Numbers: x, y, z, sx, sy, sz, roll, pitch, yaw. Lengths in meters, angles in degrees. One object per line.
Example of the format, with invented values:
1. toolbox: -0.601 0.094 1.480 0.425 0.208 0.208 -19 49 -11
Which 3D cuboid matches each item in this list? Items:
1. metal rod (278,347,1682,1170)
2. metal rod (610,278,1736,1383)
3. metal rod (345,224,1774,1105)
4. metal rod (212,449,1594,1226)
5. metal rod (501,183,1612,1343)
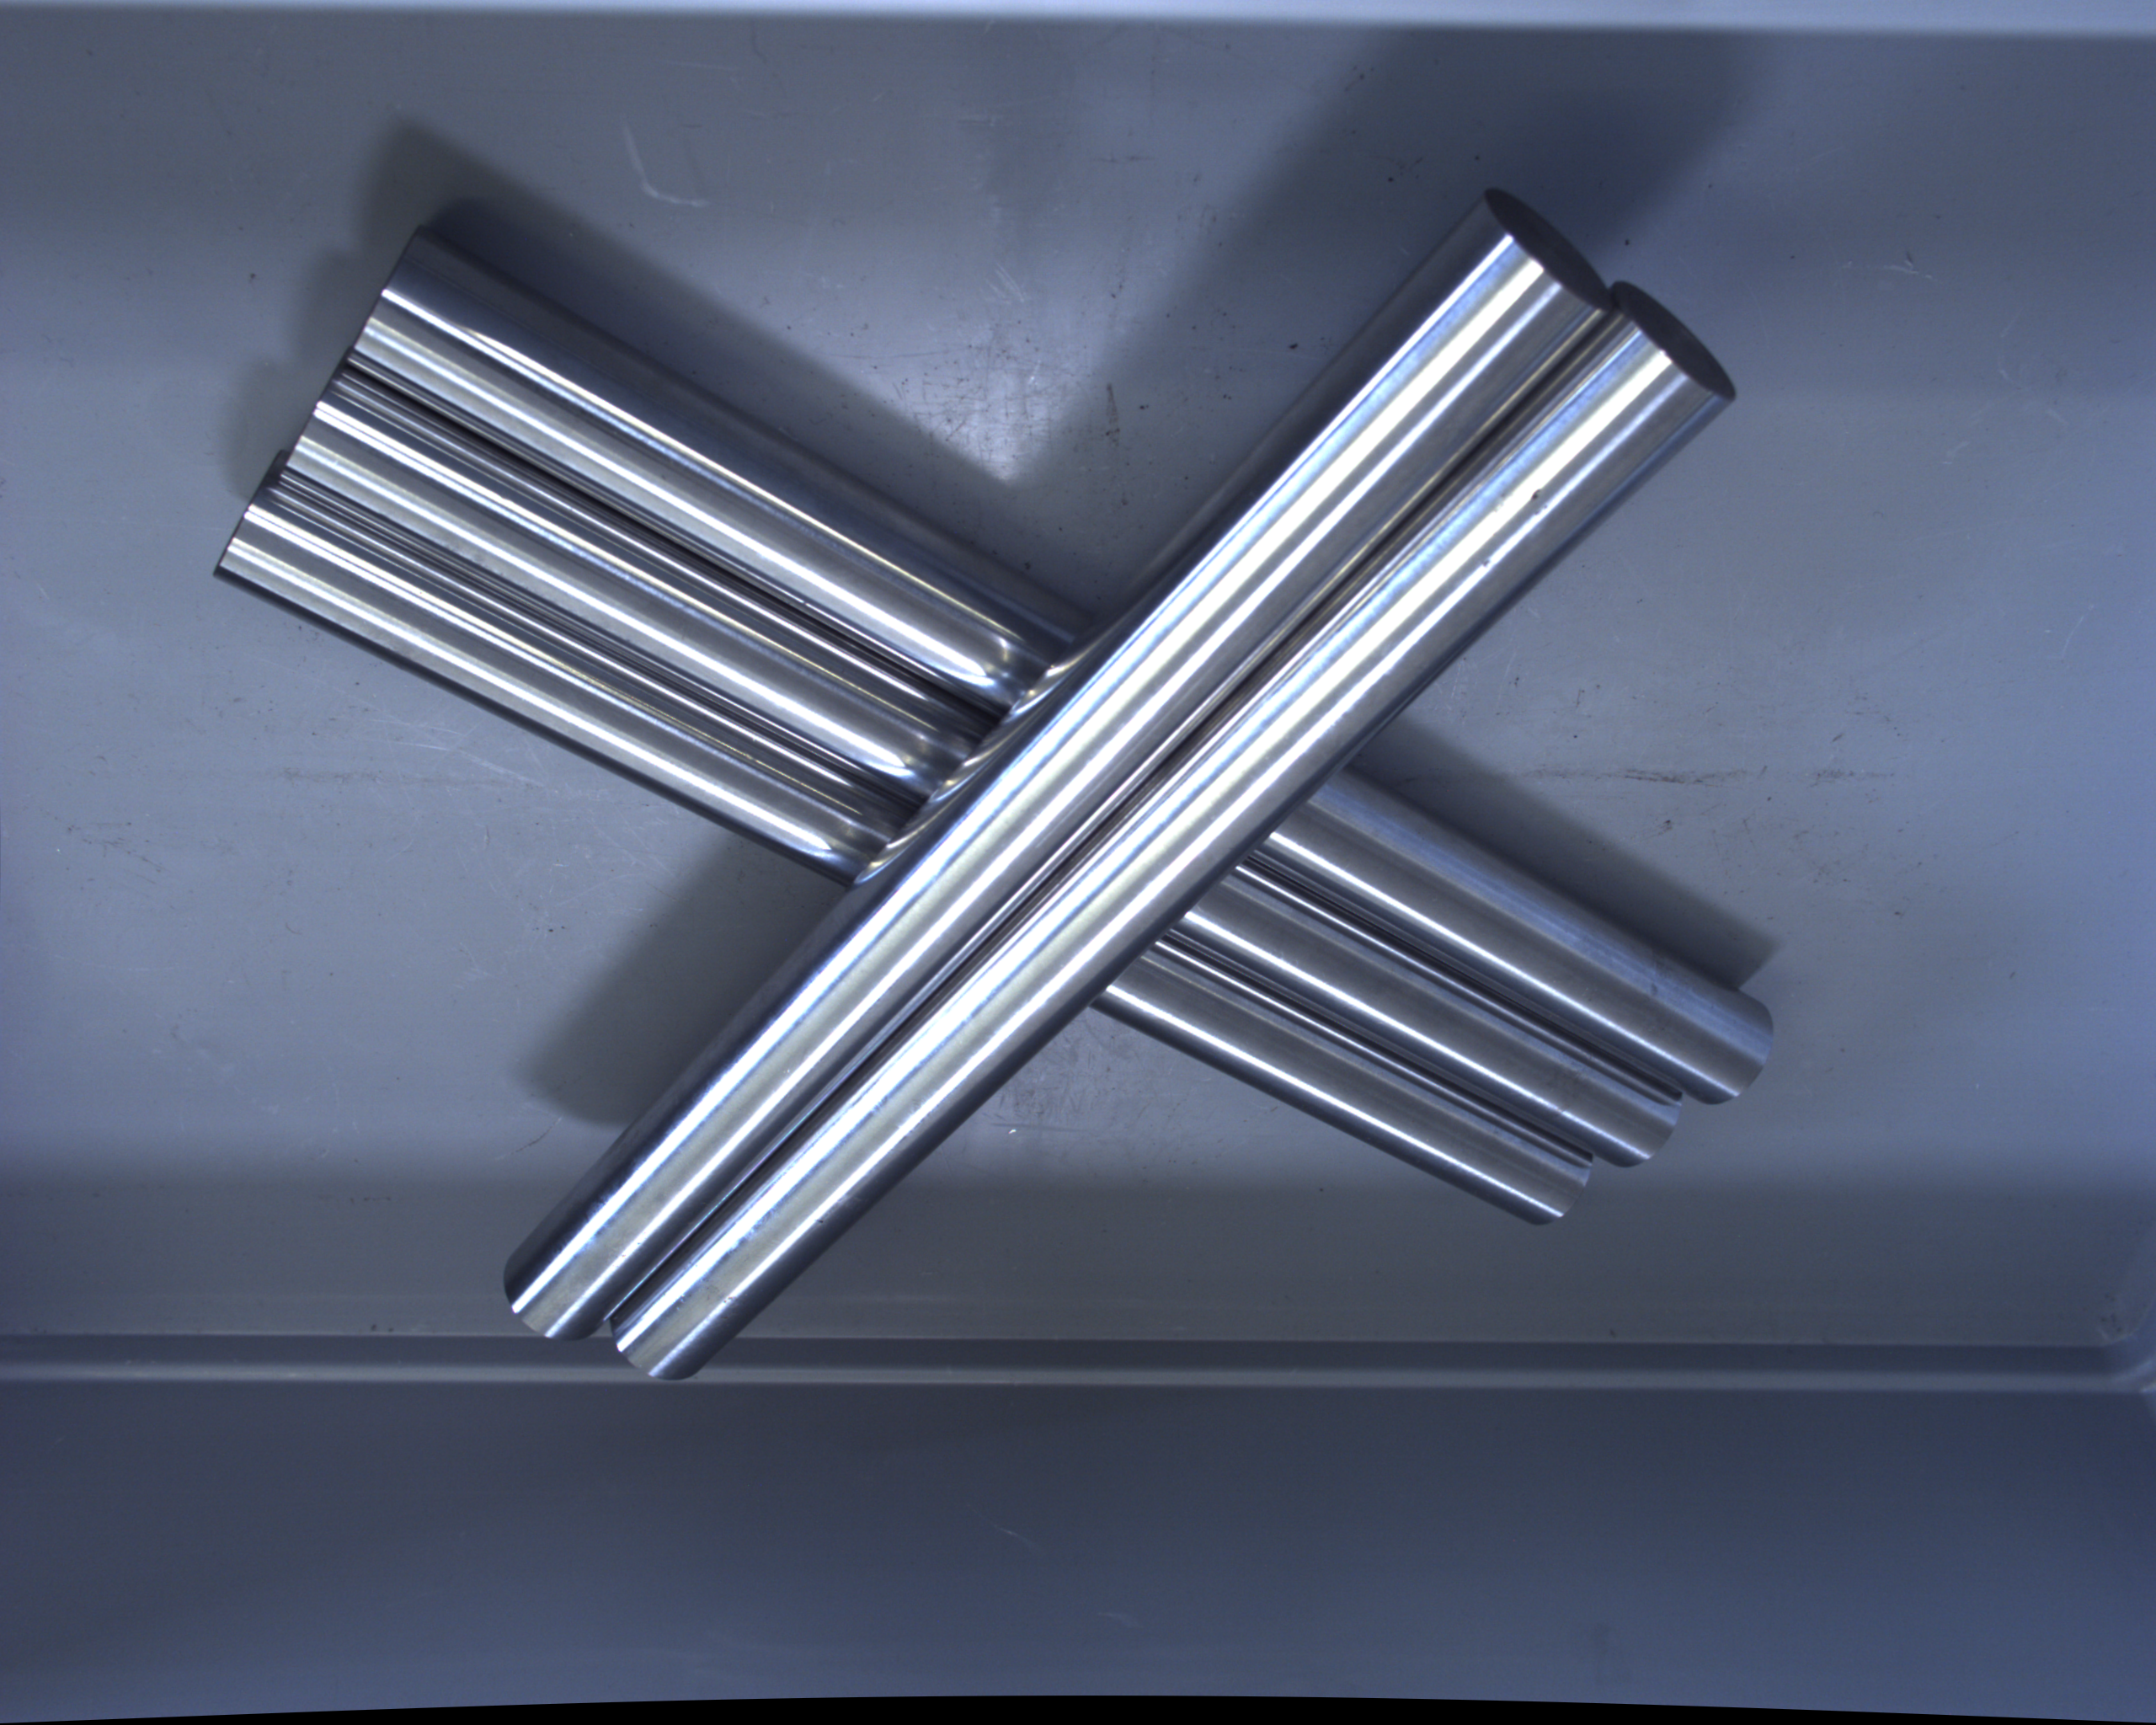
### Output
1. metal rod: -0.002 -0.009 0.399 0.301 0.025 0.025 28 125 -22
2. metal rod: -0.002 0.013 0.385 0.025 0.025 0.299 30 124 -23
3. metal rod: 0.014 -0.025 0.386 0.301 0.025 0.025 28 125 -22
4. metal rod: -0.017 0.005 0.411 0.301 0.025 0.025 28 125 -22
5. metal rod: -0.023 0.002 0.376 0.025 0.025 0.299 30 124 -23
